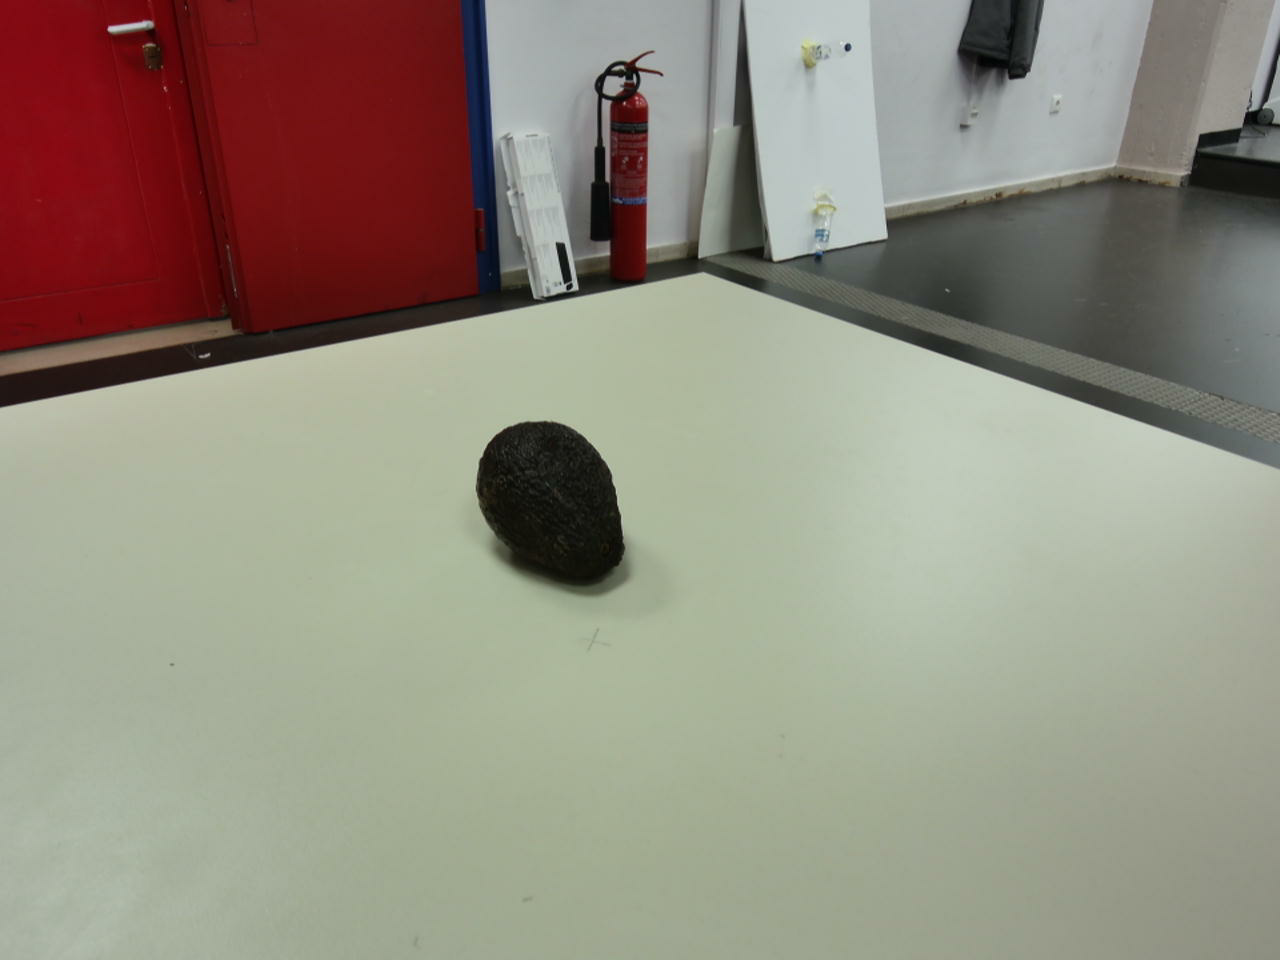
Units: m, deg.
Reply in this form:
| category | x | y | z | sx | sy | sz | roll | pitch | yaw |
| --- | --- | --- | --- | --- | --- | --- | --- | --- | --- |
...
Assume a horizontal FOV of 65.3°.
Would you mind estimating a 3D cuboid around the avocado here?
| category | x | y | z | sx | sy | sz | roll | pitch | yaw |
| --- | --- | --- | --- | --- | --- | --- | --- | --- | --- |
| avocado | -0.047 | 0.008 | 0.507 | 0.070 | 0.069 | 0.090 | -5 | 25 | -11 |
